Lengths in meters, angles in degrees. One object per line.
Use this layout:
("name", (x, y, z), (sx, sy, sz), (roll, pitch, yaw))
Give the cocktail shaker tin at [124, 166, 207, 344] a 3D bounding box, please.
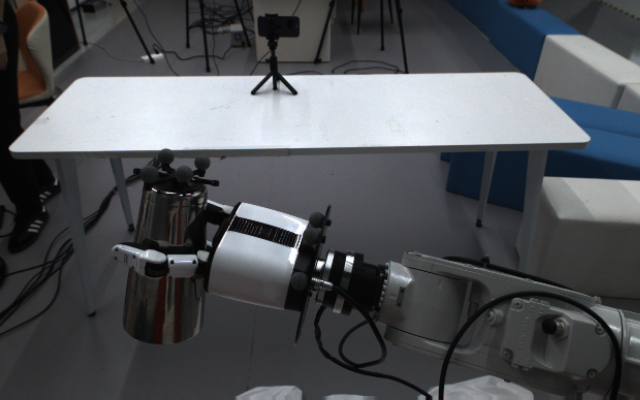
("cocktail shaker tin", (-0.166, 0.063, 0.543), (0.093, 0.170, 0.093), (10, 19, -3))
